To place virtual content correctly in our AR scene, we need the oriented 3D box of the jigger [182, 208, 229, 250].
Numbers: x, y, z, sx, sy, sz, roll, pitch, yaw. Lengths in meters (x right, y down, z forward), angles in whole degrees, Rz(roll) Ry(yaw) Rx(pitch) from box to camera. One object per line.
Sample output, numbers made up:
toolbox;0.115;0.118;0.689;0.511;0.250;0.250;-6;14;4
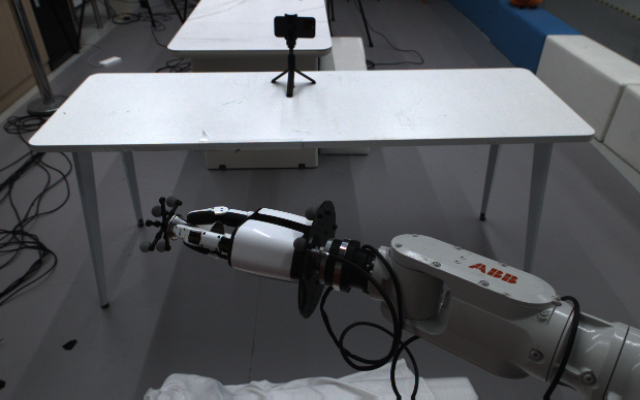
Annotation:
jigger;-0.173;0.042;0.693;0.071;0.043;0.043;11;35;16
